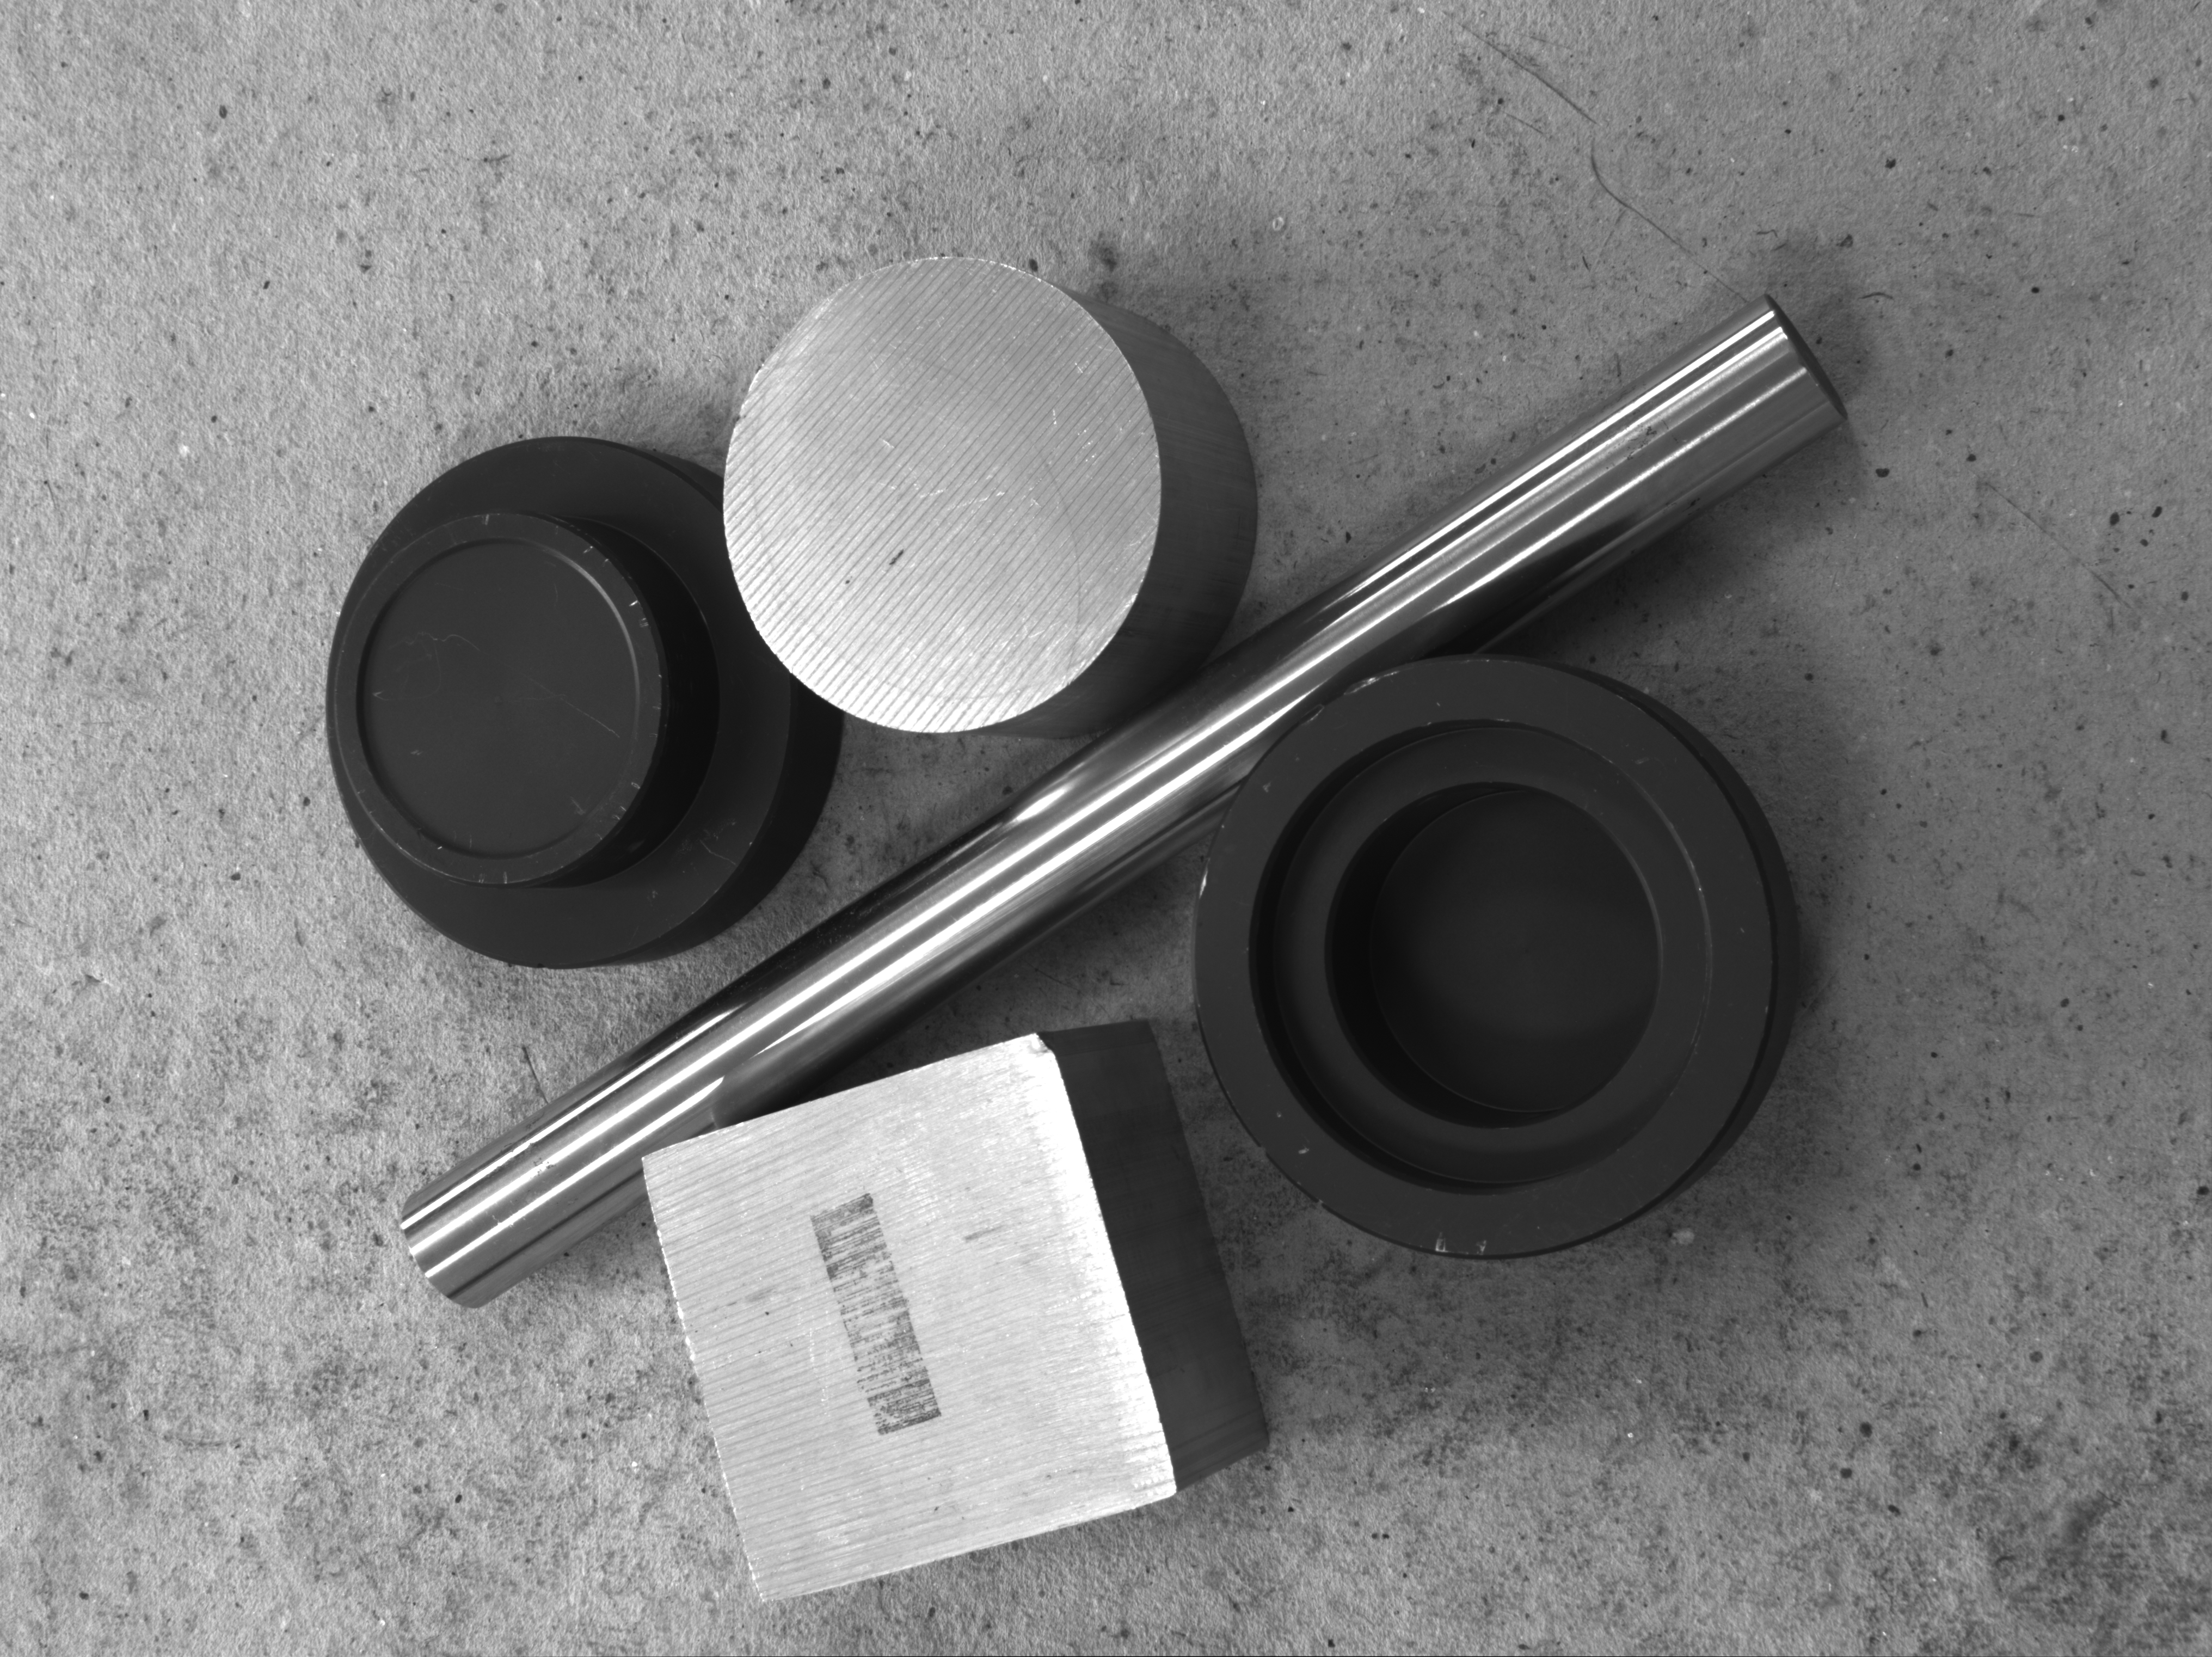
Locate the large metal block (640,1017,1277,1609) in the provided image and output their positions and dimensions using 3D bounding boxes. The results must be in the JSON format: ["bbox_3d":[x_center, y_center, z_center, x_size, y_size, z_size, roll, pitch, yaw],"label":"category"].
[{"bbox_3d":[-0.025,0.084,0.644,0.080,0.050,0.080,-18,84,19],"label":"large metal block"}]

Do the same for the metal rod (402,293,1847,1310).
[{"bbox_3d":[-0.004,0.001,0.650,0.300,0.025,0.025,-33,79,17],"label":"metal rod"}]

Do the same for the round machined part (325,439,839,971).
[{"bbox_3d":[-0.102,-0.023,0.675,0.098,0.042,0.098,0,90,20],"label":"round machined part"}]

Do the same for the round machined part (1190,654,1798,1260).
[{"bbox_3d":[0.067,0.021,0.613,0.098,0.042,0.098,0,90,20],"label":"round machined part"}]

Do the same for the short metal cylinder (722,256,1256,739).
[{"bbox_3d":[-0.020,-0.056,0.640,0.080,0.050,0.080,0,90,20],"label":"short metal cylinder"}]
